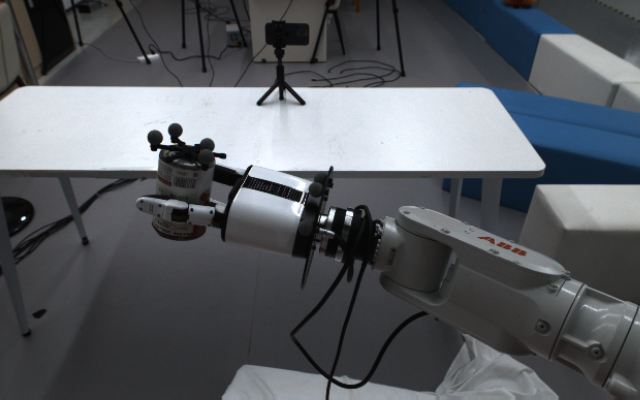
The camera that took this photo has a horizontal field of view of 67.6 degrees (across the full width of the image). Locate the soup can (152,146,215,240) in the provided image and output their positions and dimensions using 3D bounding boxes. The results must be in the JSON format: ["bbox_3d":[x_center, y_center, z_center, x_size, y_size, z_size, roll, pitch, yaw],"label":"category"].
[{"bbox_3d":[-0.169,-0.008,0.602,0.067,0.101,0.067,12,25,-6],"label":"soup can"}]
